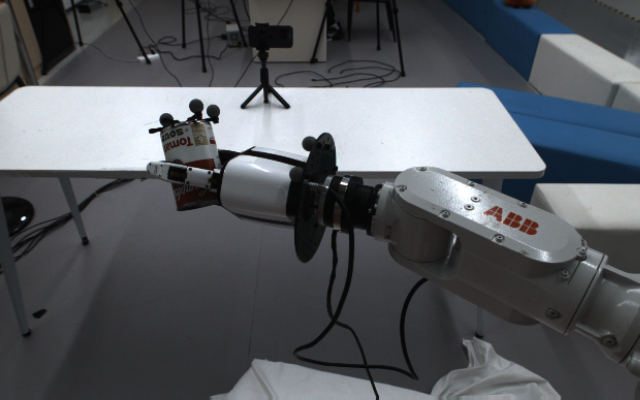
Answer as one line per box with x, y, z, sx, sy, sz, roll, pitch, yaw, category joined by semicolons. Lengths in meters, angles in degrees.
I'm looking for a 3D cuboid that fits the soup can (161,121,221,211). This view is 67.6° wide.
-0.160;-0.042;0.620;0.067;0.101;0.067;-14;-2;-1;soup can
